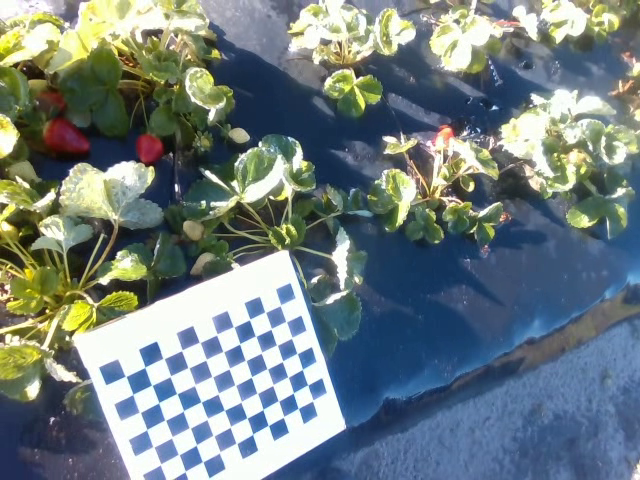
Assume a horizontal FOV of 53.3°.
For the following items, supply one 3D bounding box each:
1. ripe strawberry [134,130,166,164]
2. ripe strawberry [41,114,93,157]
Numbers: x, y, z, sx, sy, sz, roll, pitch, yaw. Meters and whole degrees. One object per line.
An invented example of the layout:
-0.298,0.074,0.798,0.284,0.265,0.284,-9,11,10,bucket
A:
-0.215,-0.113,0.792,0.039,0.047,0.040,21,-27,-27,ripe strawberry
-0.303,-0.123,0.759,0.056,0.044,0.040,32,-21,-23,ripe strawberry
